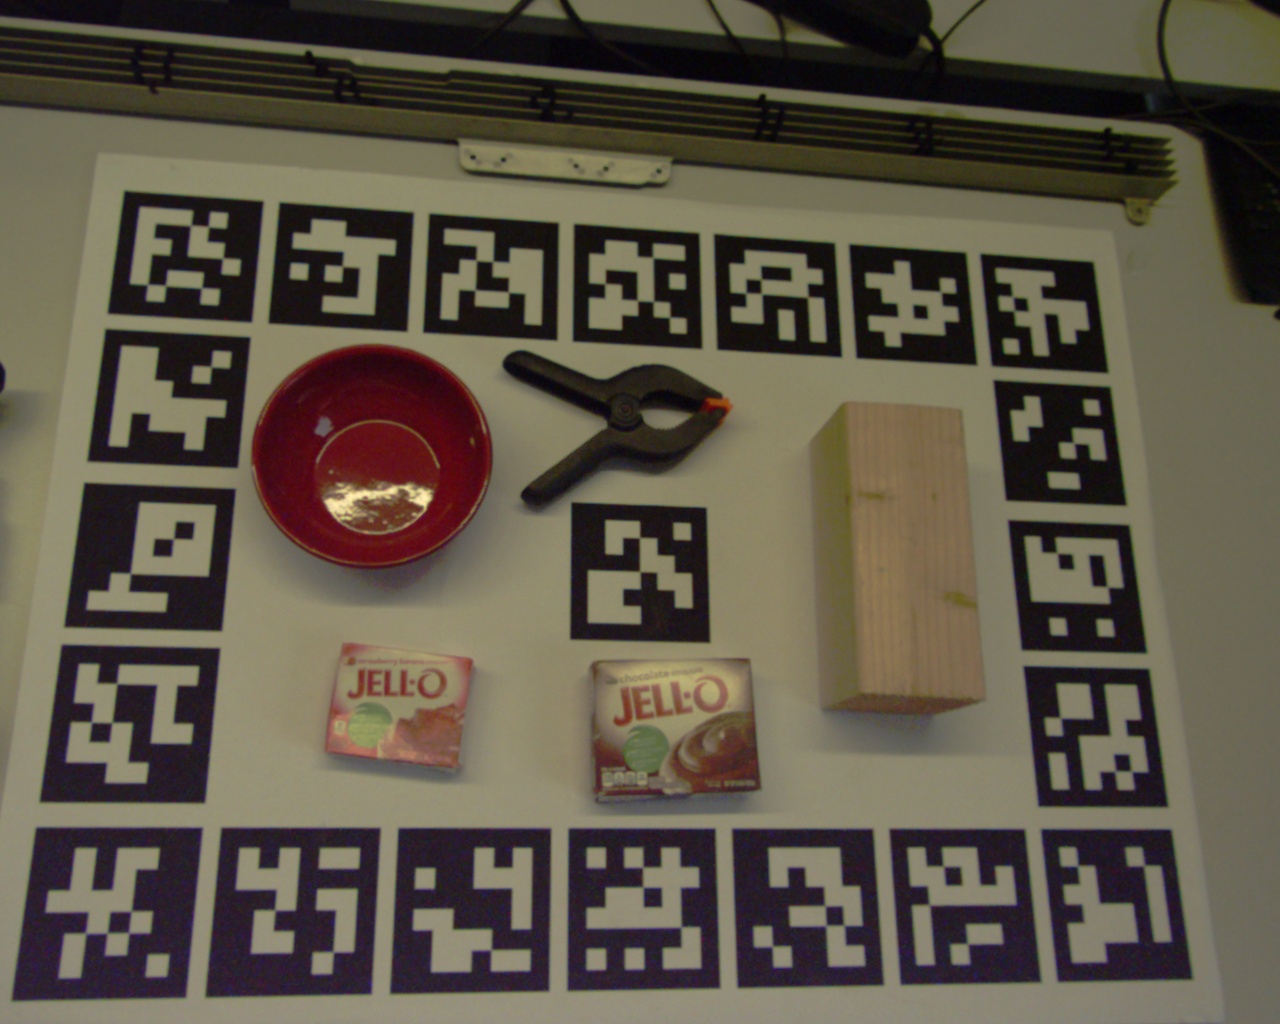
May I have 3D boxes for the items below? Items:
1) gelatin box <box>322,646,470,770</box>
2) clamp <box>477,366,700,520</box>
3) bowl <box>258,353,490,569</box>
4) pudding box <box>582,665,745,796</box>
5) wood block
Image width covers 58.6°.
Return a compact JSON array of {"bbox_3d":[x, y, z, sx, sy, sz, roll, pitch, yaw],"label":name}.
[{"bbox_3d":[-0.168,0.136,0.792,0.089,0.030,0.073,10,75,-6],"label":"gelatin box"},{"bbox_3d":[-0.035,-0.062,0.876,0.164,0.037,0.122,-8,75,-13],"label":"clamp"},{"bbox_3d":[-0.192,-0.031,0.831,0.161,0.055,0.162,2,77,-9],"label":"bowl"},{"bbox_3d":[0.016,0.155,0.812,0.113,0.039,0.090,1,78,-6],"label":"pudding box"},{"bbox_3d":[0.177,0.043,0.841,0.089,0.091,0.206,5,74,-9],"label":"wood block"}]
